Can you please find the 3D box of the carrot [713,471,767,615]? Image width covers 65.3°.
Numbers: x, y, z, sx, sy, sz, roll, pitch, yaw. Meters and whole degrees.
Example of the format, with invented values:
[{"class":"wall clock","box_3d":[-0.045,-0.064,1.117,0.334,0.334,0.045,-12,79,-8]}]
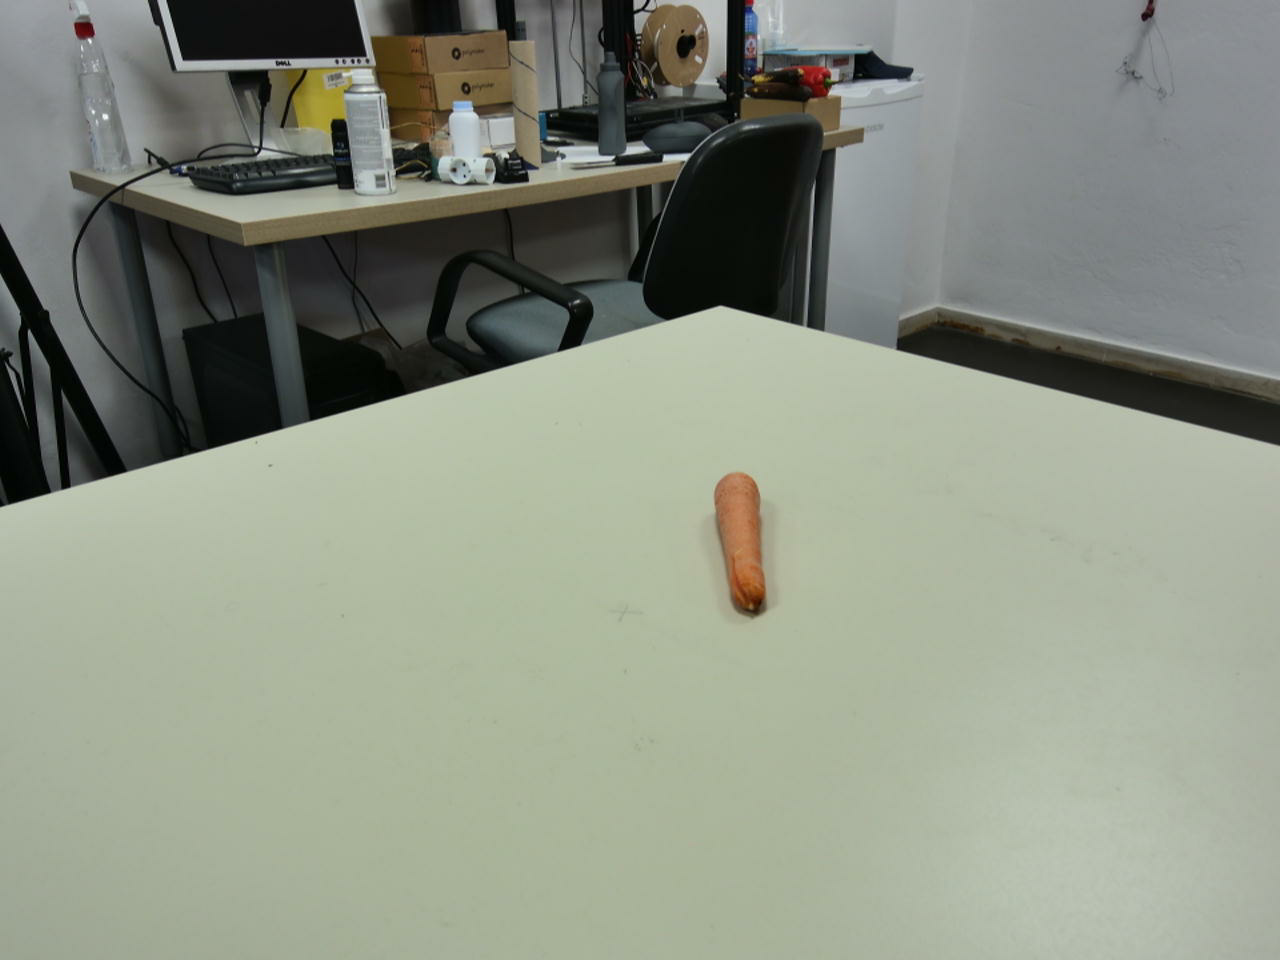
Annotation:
[{"class":"carrot","box_3d":[0.058,0.031,0.575,0.030,0.032,0.136,1,24,3]}]
